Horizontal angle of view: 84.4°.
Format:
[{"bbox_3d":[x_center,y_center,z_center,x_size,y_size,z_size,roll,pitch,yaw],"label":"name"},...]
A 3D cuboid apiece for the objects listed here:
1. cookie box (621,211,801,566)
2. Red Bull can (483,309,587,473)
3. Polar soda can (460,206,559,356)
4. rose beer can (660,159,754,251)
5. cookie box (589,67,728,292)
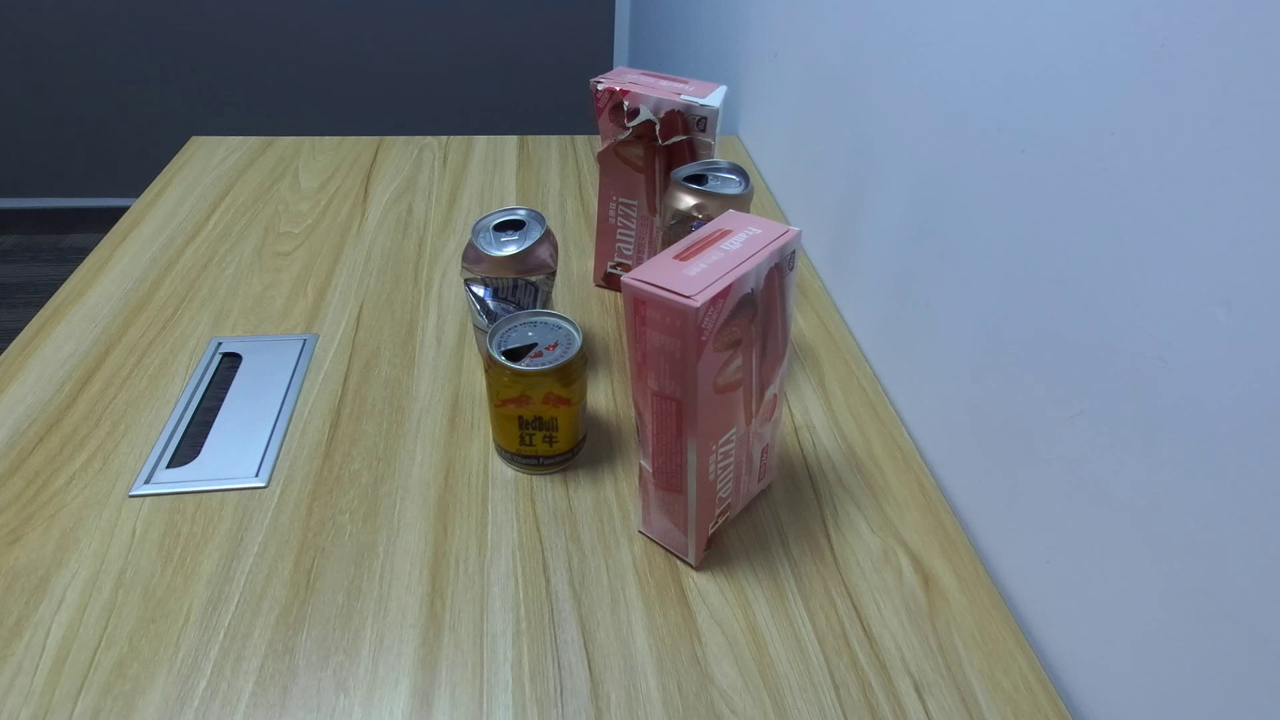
[{"bbox_3d":[0.040,0.022,0.404,0.048,0.188,0.105,24,44,32],"label":"cookie box"},{"bbox_3d":[-0.068,0.021,0.471,0.069,0.092,0.069,2,40,-2],"label":"Red Bull can"},{"bbox_3d":[-0.096,-0.049,0.532,0.071,0.122,0.066,-11,47,-16],"label":"Polar soda can"},{"bbox_3d":[0.043,-0.064,0.523,0.068,0.162,0.073,5,39,0],"label":"rose beer can"},{"bbox_3d":[0.012,-0.134,0.585,0.105,0.186,0.059,15,39,14],"label":"cookie box"}]
